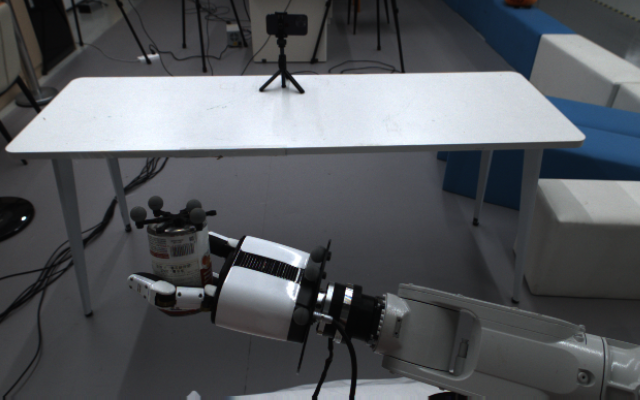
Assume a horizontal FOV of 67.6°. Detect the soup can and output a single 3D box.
[{"bbox_3d":[-0.159,0.075,0.559,0.067,0.101,0.067,-1,16,0],"label":"soup can"}]
